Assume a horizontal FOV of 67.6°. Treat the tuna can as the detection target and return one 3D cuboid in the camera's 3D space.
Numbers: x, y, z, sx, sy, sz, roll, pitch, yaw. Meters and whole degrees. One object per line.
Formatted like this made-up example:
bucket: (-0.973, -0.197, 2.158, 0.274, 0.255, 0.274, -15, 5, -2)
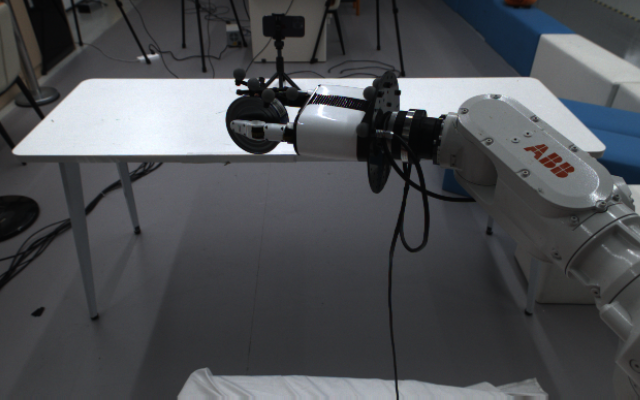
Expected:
tuna can: (-0.088, -0.110, 0.689, 0.085, 0.085, 0.034, 13, 30, 15)
